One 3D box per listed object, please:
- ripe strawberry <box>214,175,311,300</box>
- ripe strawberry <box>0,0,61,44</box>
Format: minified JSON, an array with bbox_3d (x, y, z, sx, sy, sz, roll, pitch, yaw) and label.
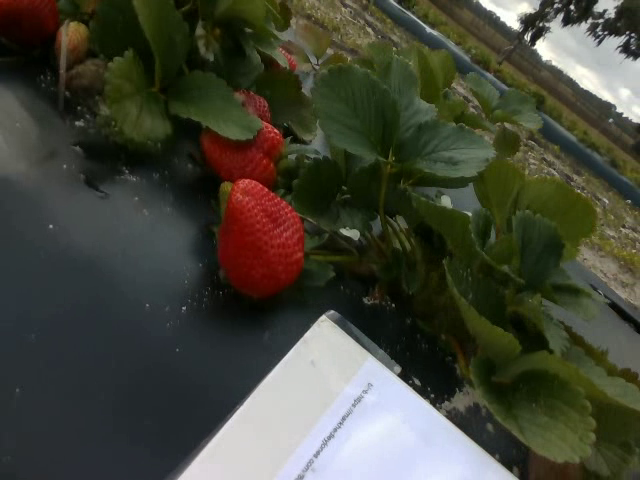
[{"bbox_3d":[-0.032,-0.006,0.299,0.057,0.056,0.065,-4,-26,8],"label":"ripe strawberry"},{"bbox_3d":[-0.174,-0.135,0.354,0.043,0.041,0.052,21,16,6],"label":"ripe strawberry"}]
